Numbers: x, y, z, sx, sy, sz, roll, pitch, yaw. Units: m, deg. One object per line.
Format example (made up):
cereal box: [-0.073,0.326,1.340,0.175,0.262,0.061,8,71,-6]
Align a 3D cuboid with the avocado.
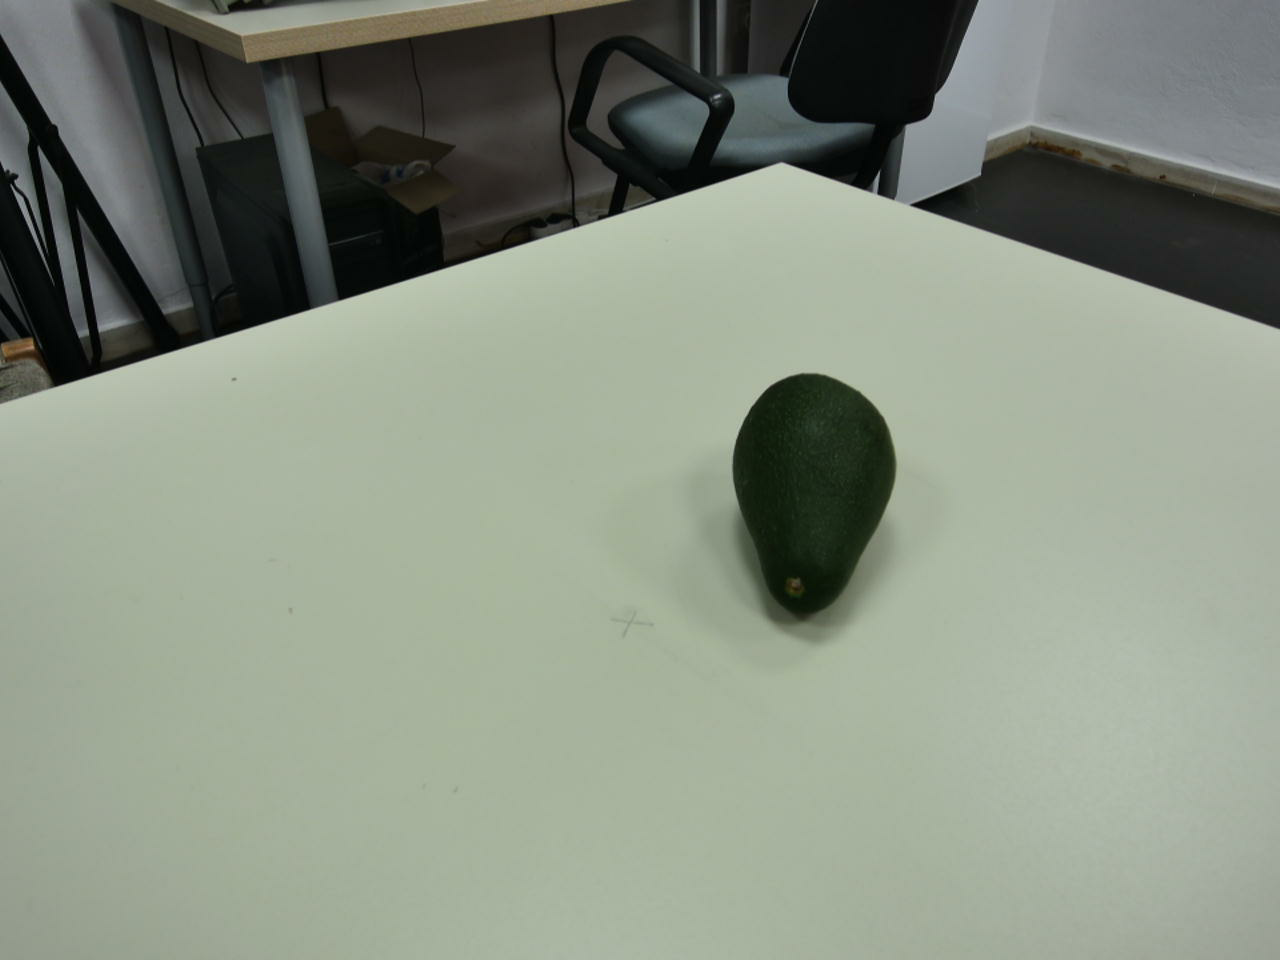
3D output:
avocado: [0.070,0.000,0.428,0.073,0.071,0.109,17,39,24]
